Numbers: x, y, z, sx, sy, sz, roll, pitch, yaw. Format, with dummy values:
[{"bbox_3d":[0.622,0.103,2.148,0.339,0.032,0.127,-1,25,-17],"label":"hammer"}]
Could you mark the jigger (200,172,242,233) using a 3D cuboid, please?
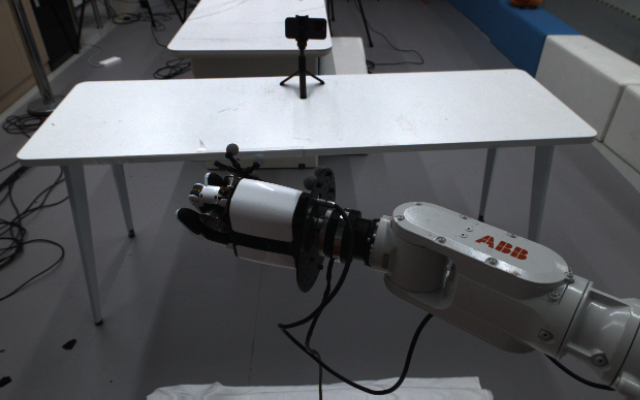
[{"bbox_3d":[-0.125,0.002,0.646,0.043,0.043,0.071,15,58,18],"label":"jigger"}]
